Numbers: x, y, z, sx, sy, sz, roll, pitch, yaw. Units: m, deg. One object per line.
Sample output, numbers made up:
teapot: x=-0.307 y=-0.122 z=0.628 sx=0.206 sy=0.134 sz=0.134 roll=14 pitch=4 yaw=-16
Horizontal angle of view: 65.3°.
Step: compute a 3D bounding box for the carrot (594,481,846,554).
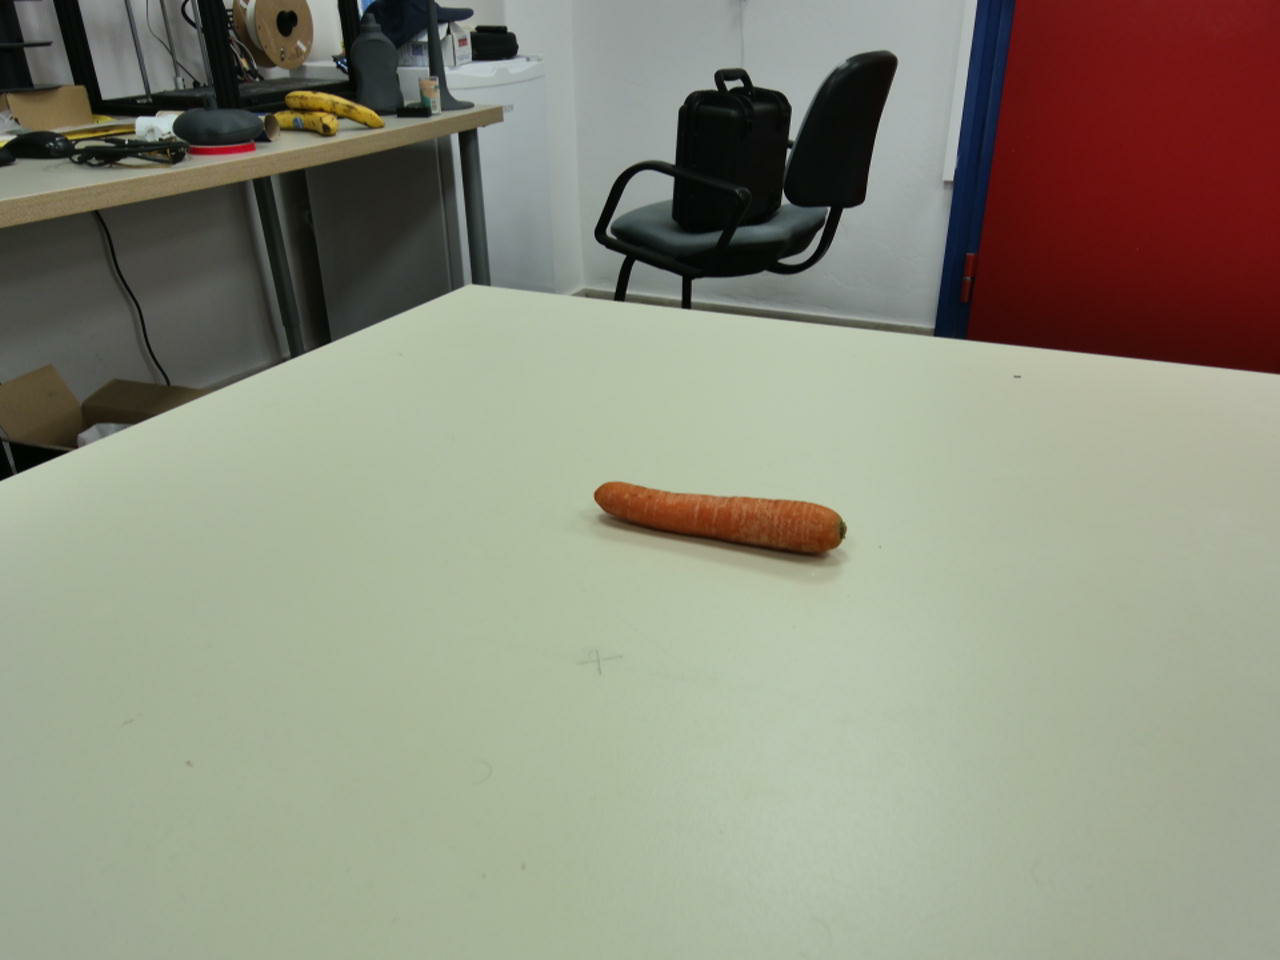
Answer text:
carrot: x=0.035 y=0.015 z=0.466 sx=0.122 sy=0.023 sz=0.024 roll=9 pitch=25 yaw=21
